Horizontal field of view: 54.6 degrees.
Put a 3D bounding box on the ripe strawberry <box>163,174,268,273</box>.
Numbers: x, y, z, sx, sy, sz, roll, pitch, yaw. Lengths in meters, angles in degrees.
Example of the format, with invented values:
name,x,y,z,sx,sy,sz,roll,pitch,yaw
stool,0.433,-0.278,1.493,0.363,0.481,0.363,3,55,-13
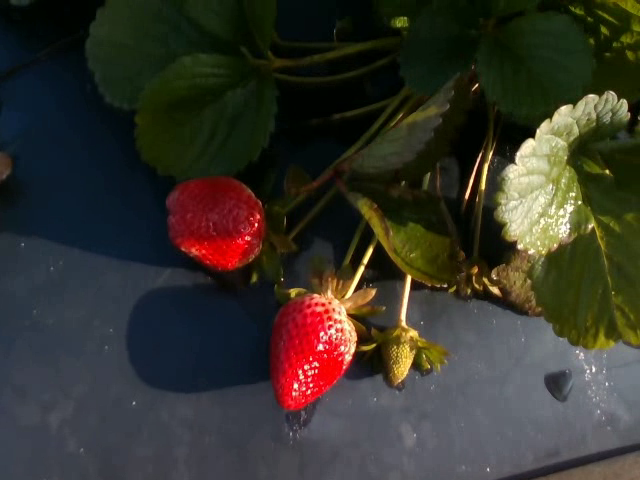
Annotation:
name,x,y,z,sx,sy,sz,roll,pitch,yaw
ripe strawberry,-0.046,-0.007,0.272,0.054,0.048,0.039,3,9,-35

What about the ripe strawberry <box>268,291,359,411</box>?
name,x,y,z,sx,sy,sz,roll,pitch,yaw
ripe strawberry,-0.005,0.047,0.252,0.043,0.053,0.038,34,-38,-14
